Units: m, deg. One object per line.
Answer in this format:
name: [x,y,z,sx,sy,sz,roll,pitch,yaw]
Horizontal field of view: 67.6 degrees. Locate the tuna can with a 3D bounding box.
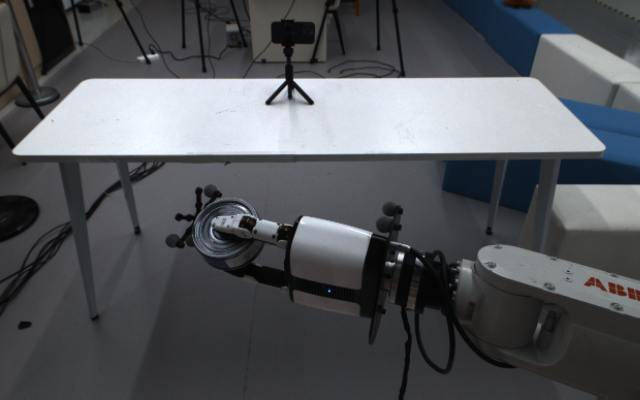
tuna can: [-0.107,0.046,0.591,0.085,0.034,0.085,-3,59,5]
